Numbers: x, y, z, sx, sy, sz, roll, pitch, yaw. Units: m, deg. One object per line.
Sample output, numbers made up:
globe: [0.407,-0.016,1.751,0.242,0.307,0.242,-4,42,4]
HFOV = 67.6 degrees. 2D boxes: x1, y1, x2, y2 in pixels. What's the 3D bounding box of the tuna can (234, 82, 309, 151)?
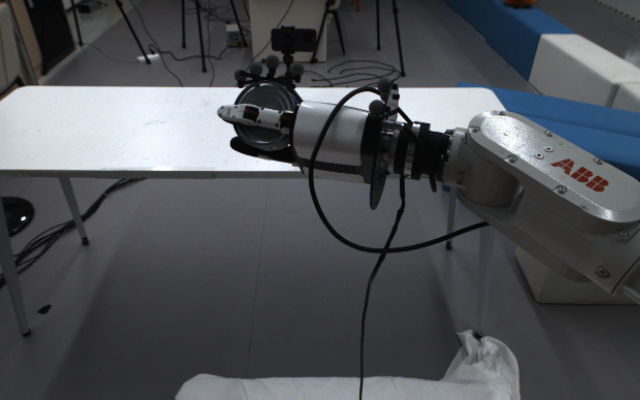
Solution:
tuna can: [-0.067,-0.107,0.624,0.085,0.085,0.034,15,1,18]
